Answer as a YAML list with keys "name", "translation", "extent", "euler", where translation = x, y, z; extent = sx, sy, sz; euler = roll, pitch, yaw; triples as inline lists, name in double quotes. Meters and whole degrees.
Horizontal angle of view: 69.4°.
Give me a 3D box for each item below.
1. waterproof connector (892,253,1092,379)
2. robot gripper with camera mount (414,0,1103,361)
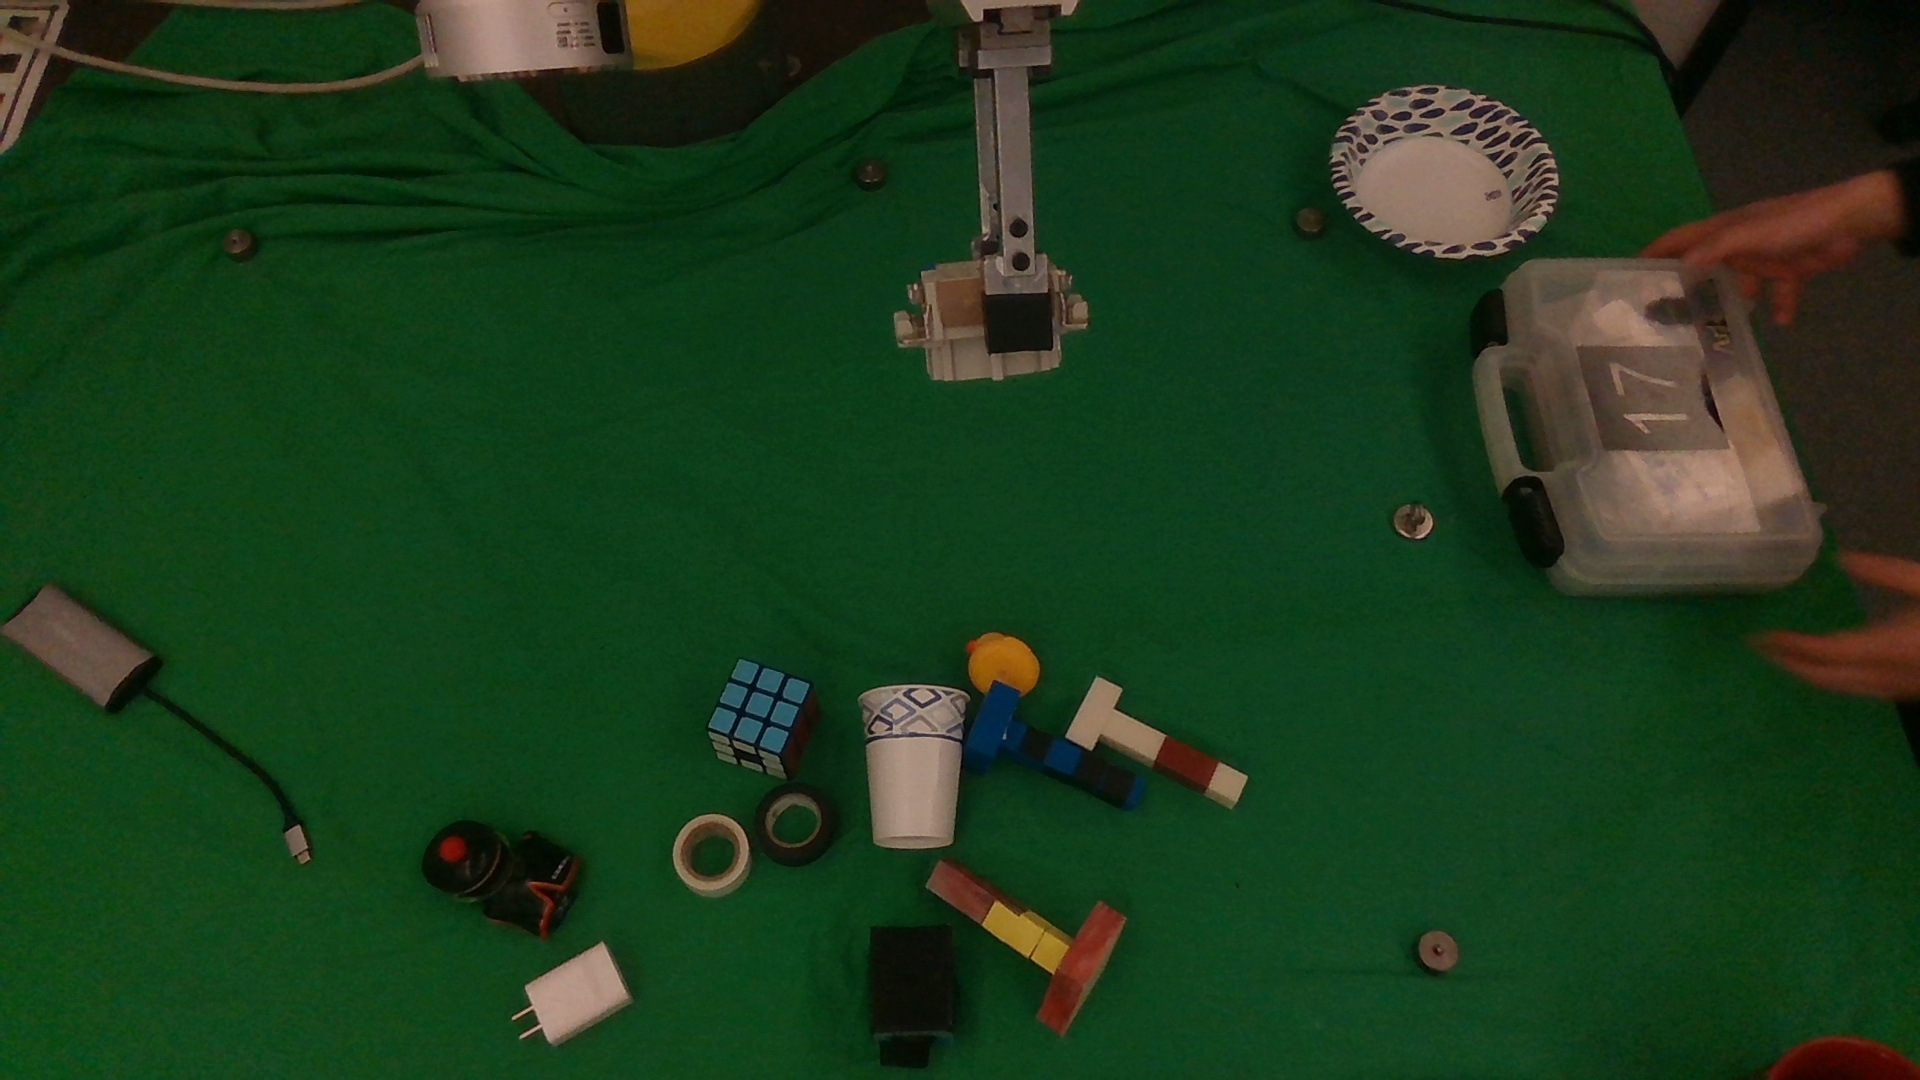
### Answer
- name: "waterproof connector"
  translation: [0.010, -0.074, 0.458]
  extent: [0.065, 0.035, 0.037]
  euler: [-5, 106, 2]
- name: "robot gripper with camera mount"
  translation: [-0.060, -0.128, 0.419]
  extent: [0.193, 0.119, 0.158]
  euler: [-6, 104, -8]
